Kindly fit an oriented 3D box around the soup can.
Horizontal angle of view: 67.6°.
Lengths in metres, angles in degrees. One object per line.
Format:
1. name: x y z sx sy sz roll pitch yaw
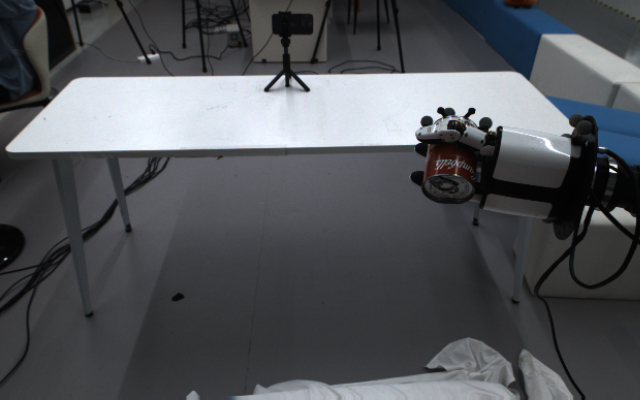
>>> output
1. soup can: 0.177 -0.055 0.646 0.067 0.067 0.101 9 58 10
